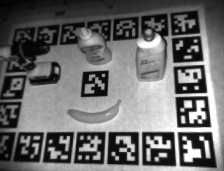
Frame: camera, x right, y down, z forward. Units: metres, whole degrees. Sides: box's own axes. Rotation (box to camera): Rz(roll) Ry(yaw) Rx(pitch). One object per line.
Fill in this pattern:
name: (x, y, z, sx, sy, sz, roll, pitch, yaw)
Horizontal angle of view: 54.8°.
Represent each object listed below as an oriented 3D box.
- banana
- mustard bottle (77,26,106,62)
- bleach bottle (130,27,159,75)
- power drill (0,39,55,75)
banana: (-0.079, 0.076, 0.746, 0.196, 0.039, 0.074, -9, 72, 12)
mustard bottle: (-0.086, -0.148, 0.751, 0.096, 0.193, 0.058, -11, 70, 8)
bleach bottle: (0.092, -0.107, 0.665, 0.102, 0.253, 0.068, 5, 73, 14)
power drill: (-0.278, -0.103, 0.743, 0.183, 0.189, 0.057, -10, 70, 13)
